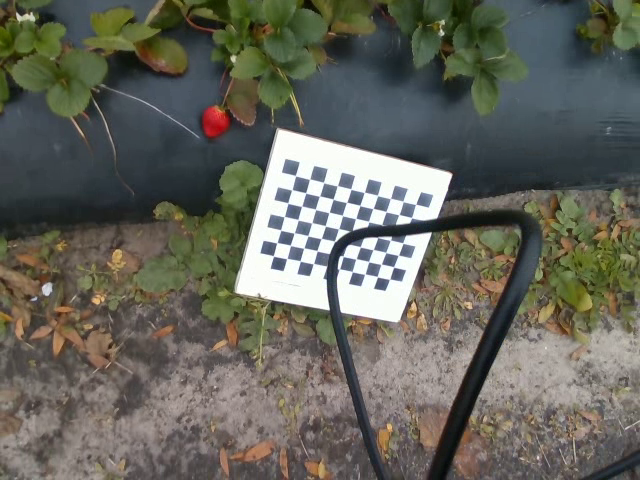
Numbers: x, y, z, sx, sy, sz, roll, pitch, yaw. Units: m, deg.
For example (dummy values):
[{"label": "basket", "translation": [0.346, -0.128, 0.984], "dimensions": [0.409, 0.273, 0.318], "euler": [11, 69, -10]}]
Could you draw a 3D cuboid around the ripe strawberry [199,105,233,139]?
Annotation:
[{"label": "ripe strawberry", "translation": [-0.103, -0.117, 0.636], "dimensions": [0.029, 0.033, 0.022], "euler": [28, 8, -14]}]
